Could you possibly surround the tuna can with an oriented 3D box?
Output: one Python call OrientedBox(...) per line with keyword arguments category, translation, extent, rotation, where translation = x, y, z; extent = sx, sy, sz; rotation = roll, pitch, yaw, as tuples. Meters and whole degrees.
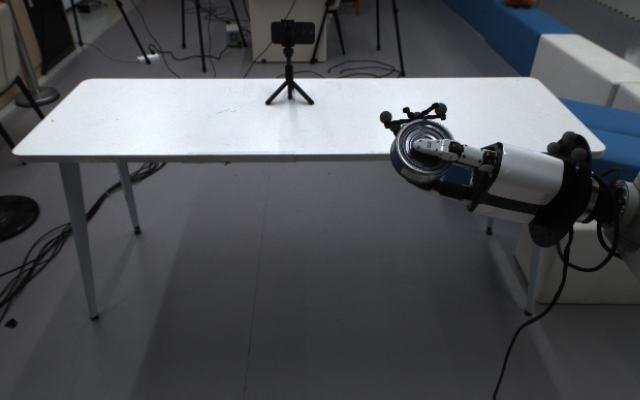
OrientedBox(category="tuna can", translation=(0.144, -0.070, 0.668), extent=(0.085, 0.034, 0.085), rotation=(0, 72, -1))
